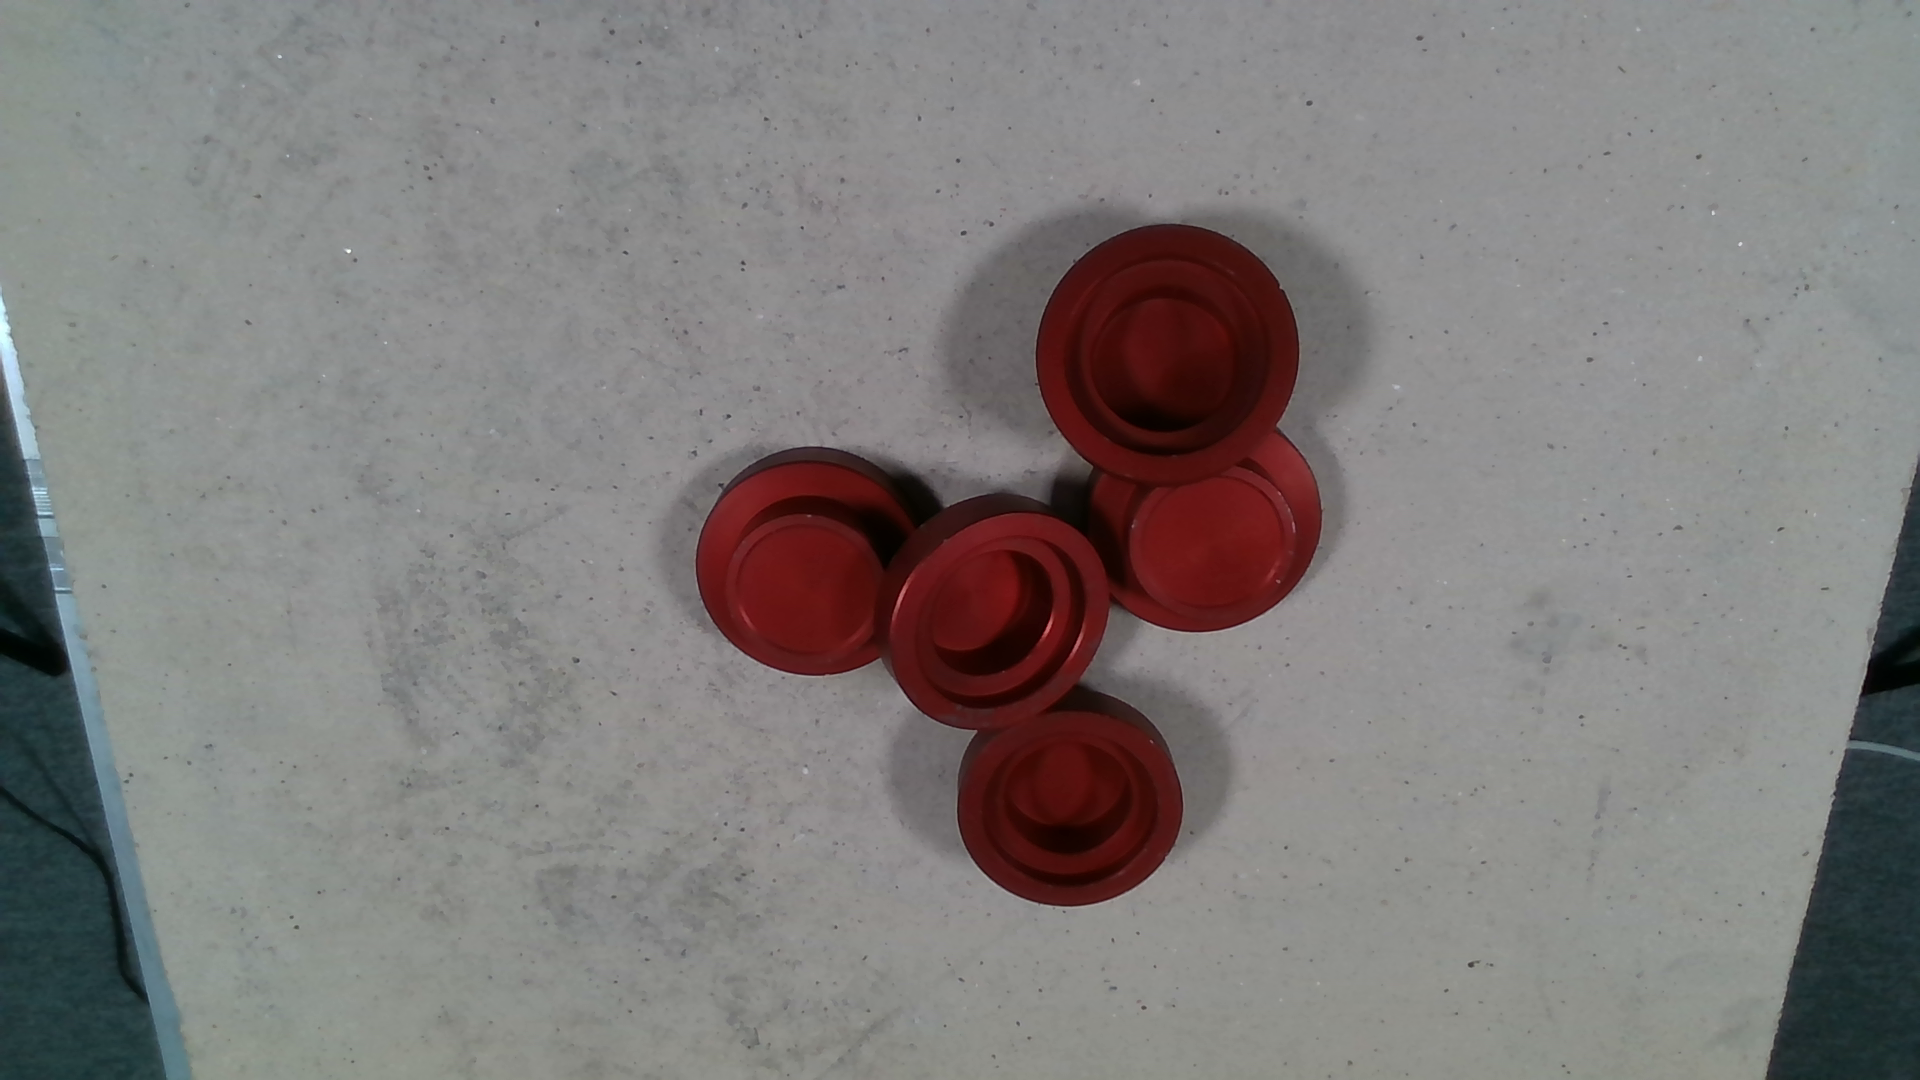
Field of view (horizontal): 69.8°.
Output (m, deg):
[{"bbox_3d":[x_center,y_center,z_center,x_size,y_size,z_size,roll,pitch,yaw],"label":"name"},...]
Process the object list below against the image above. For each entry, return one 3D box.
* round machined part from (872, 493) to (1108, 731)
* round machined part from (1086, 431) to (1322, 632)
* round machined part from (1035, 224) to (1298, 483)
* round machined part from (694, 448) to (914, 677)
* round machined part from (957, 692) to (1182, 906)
[{"bbox_3d":[0.009,0.026,0.574,0.098,0.042,0.098,-9,115,-21],"label":"round machined part"},{"bbox_3d":[0.102,-0.006,0.573,0.098,0.042,0.098,0,110,0],"label":"round machined part"},{"bbox_3d":[0.080,-0.070,0.538,0.098,0.042,0.098,0,89,7],"label":"round machined part"},{"bbox_3d":[-0.063,0.014,0.580,0.098,0.042,0.098,0,110,0],"label":"round machined part"},{"bbox_3d":[0.048,0.111,0.617,0.098,0.042,0.098,0,110,0],"label":"round machined part"}]
